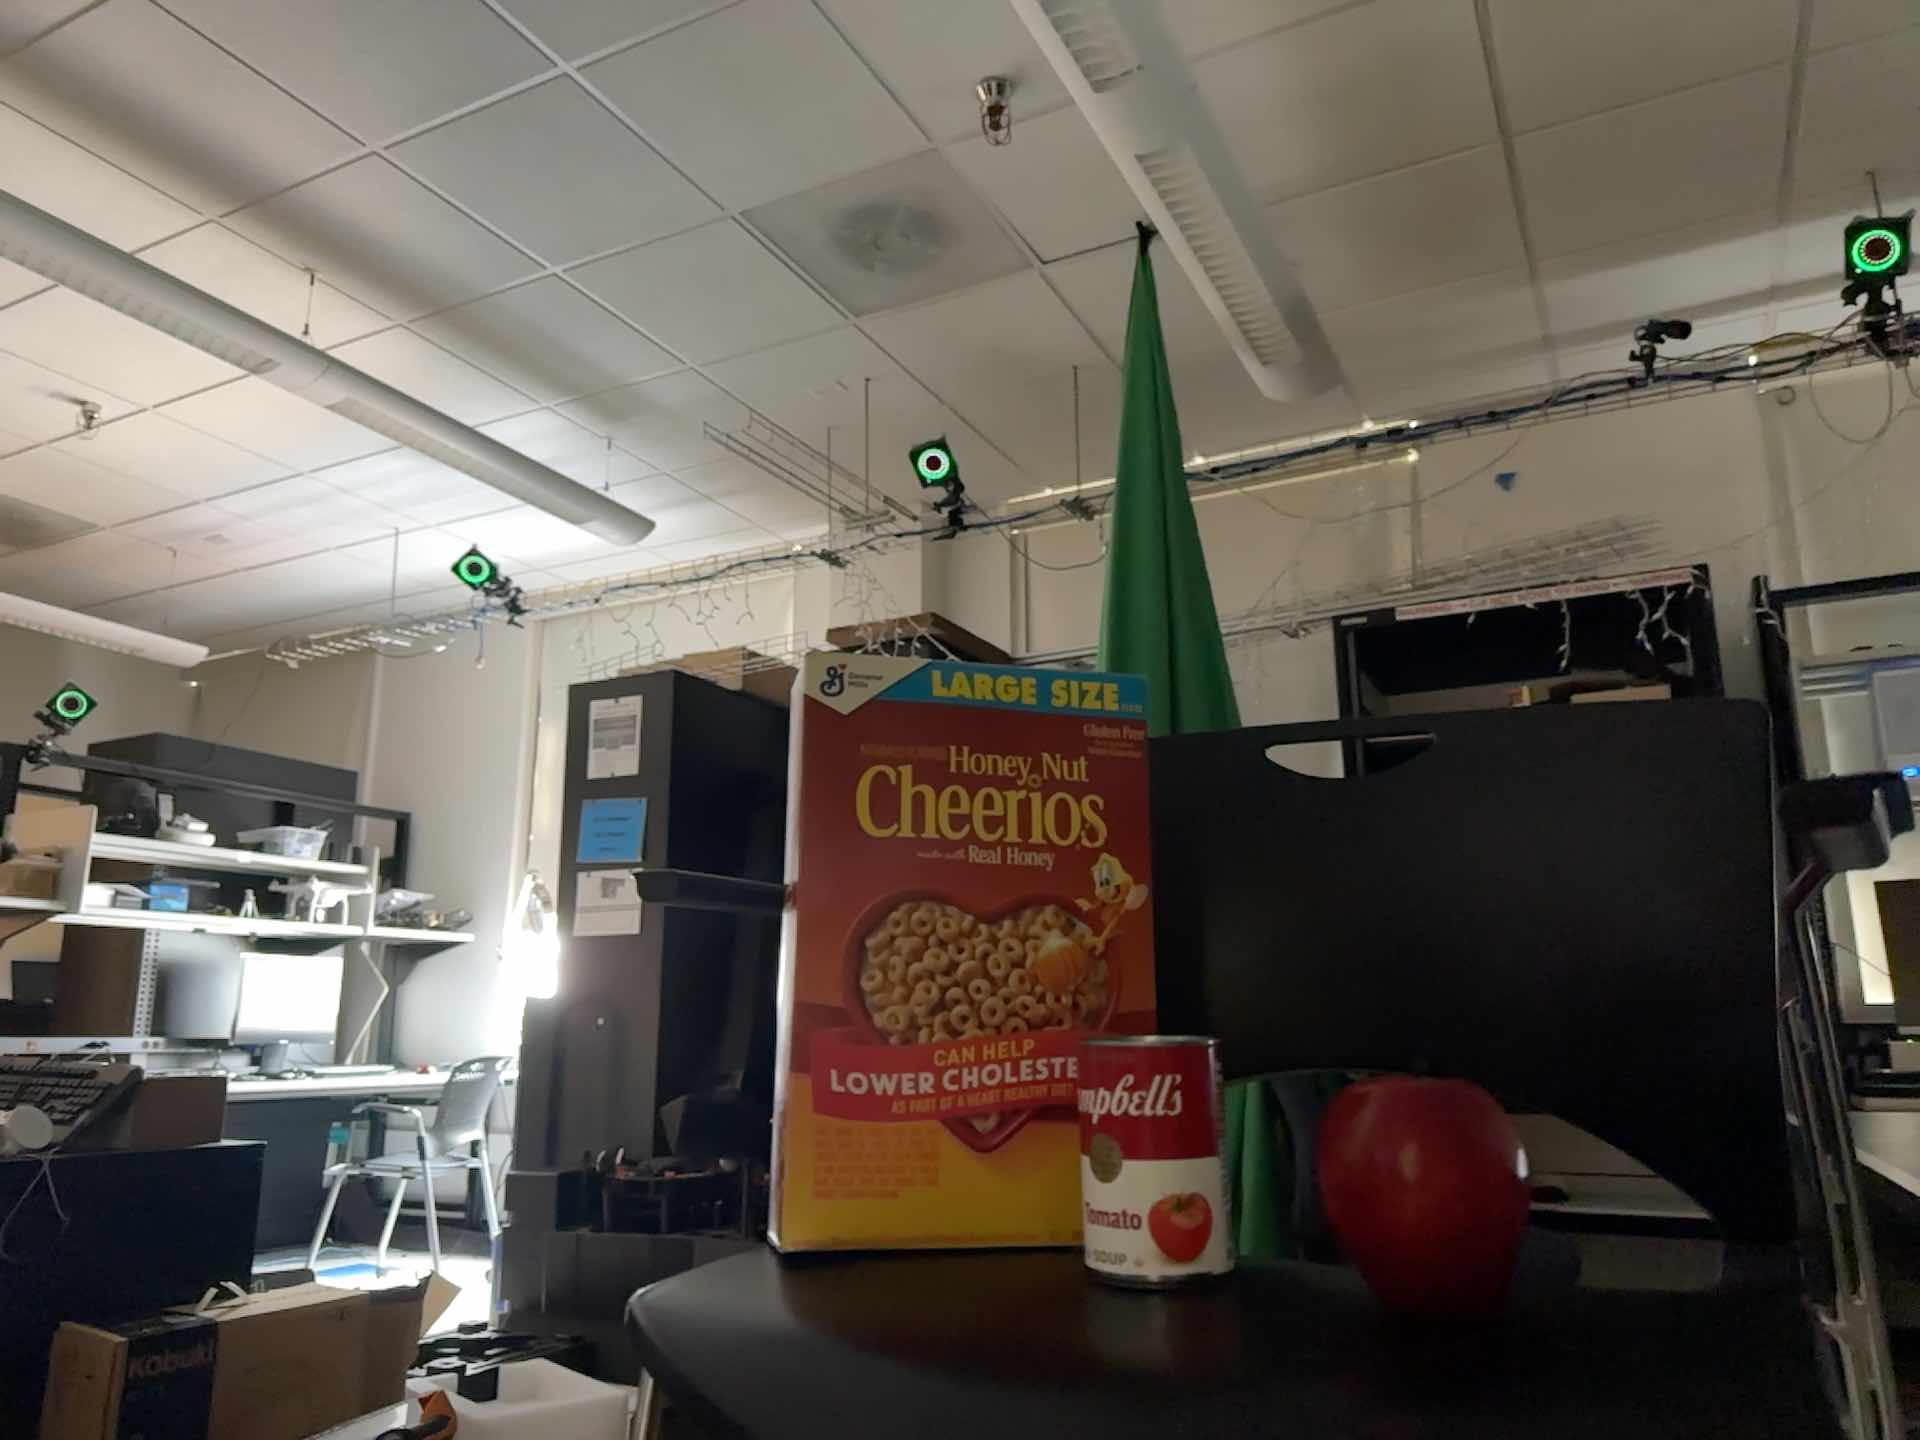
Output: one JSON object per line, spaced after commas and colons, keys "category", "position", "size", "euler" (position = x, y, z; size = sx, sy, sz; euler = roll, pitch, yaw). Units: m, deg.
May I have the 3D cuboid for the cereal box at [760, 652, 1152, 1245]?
{"category": "cereal box", "position": [-0.001, 0.120, 0.737], "size": [0.195, 0.297, 0.065], "euler": [4, -12, -12]}

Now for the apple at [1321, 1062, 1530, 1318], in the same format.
{"category": "apple", "position": [0.181, 0.181, 0.529], "size": [0.079, 0.093, 0.079], "euler": [-3, -8, 0]}

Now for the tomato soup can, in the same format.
{"category": "tomato soup can", "position": [0.085, 0.196, 0.616], "size": [0.067, 0.102, 0.067], "euler": [0, -10, 0]}
